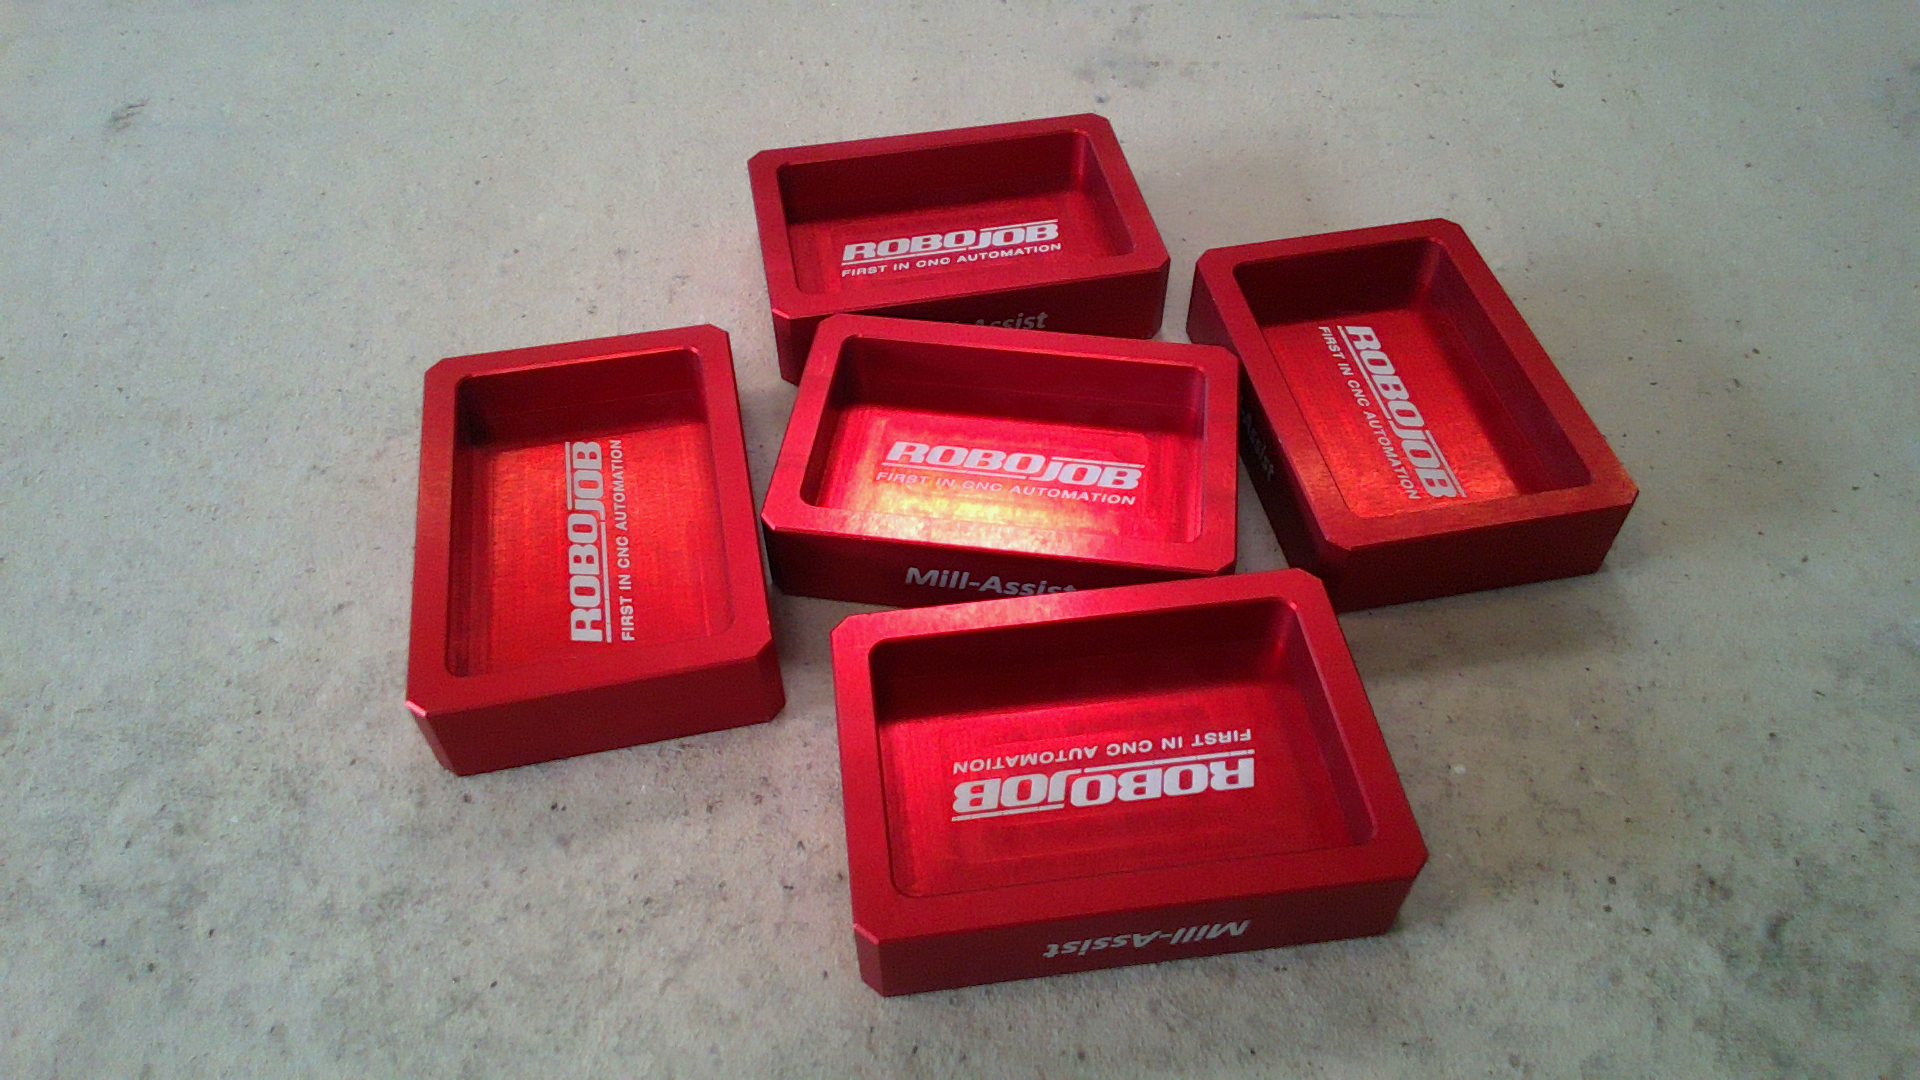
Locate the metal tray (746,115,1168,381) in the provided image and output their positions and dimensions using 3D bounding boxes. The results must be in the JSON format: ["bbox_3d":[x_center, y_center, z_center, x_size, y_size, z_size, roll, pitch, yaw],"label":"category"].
[{"bbox_3d":[-0.004,-0.102,0.475,0.130,0.030,0.090,-9,50,-7],"label":"metal tray"}]

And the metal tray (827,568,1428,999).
[{"bbox_3d":[0.036,0.057,0.340,0.130,0.030,0.090,-6,50,-5],"label":"metal tray"}]

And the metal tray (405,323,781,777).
[{"bbox_3d":[-0.104,-0.003,0.391,0.090,0.030,0.130,-9,51,-7],"label":"metal tray"}]

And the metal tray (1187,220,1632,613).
[{"bbox_3d":[0.131,-0.043,0.425,0.090,0.030,0.130,-9,51,-6],"label":"metal tray"}]

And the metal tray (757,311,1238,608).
[{"bbox_3d":[0.014,-0.022,0.407,0.130,0.030,0.090,6,52,5],"label":"metal tray"}]
